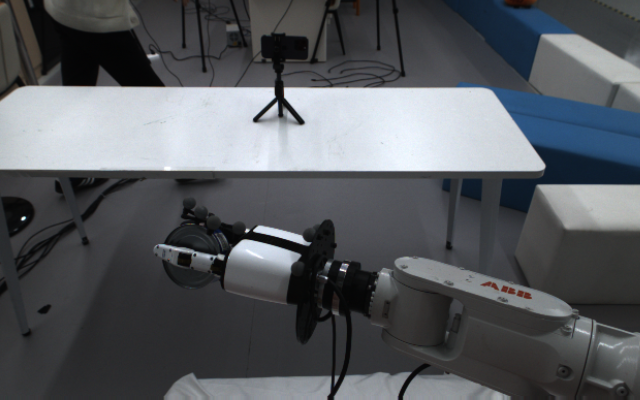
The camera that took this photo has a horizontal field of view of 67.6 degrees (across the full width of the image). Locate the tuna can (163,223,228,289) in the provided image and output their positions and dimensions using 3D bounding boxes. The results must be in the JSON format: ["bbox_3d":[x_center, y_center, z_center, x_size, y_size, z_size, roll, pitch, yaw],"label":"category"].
[{"bbox_3d":[-0.160,0.073,0.640,0.085,0.085,0.034,13,3,16],"label":"tuna can"}]
